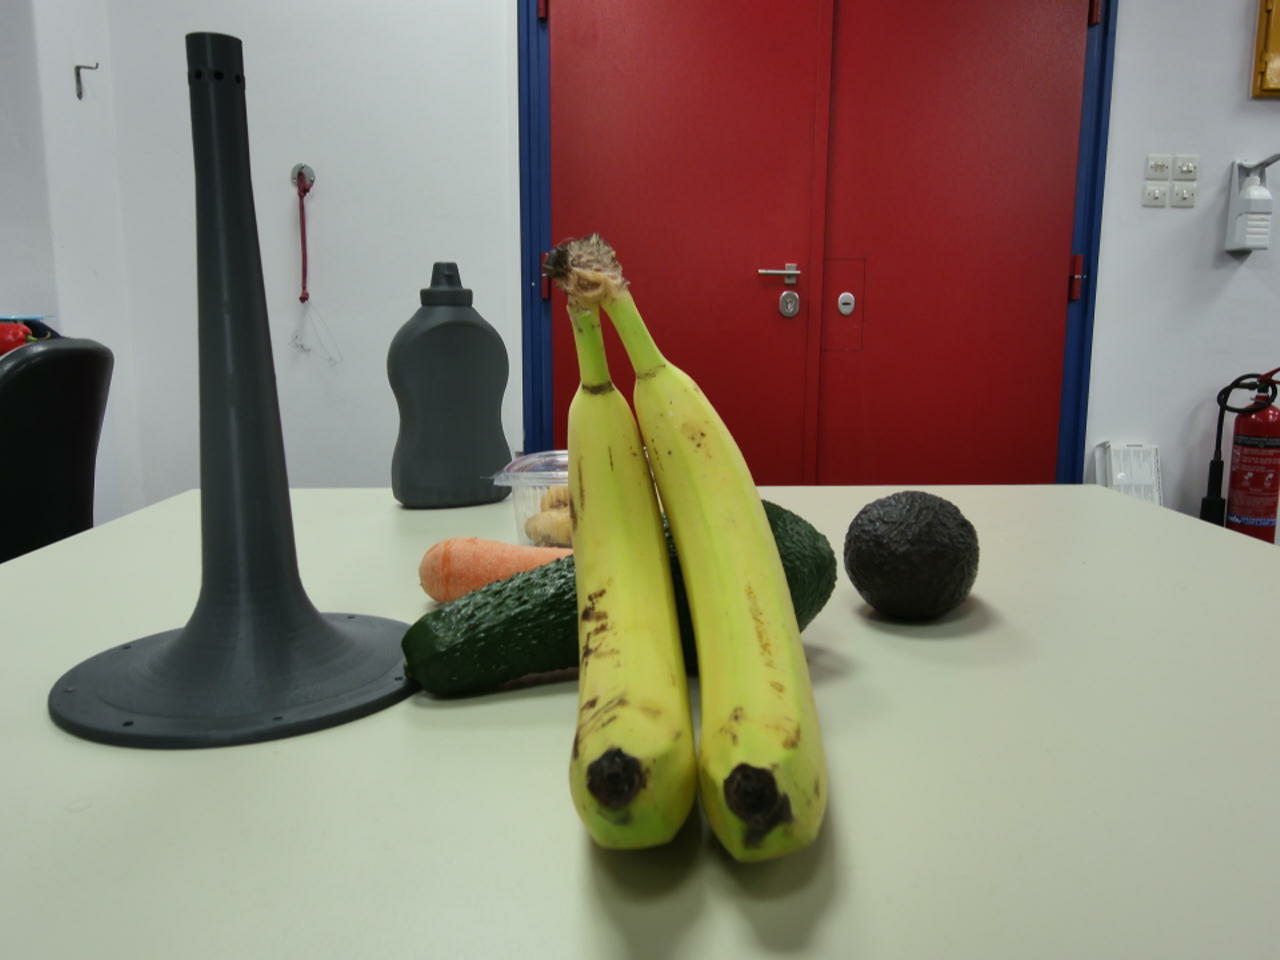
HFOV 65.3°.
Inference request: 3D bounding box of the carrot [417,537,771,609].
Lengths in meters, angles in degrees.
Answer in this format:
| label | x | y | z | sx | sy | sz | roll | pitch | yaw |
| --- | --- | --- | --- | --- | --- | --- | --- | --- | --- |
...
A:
| label | x | y | z | sx | sy | sz | roll | pitch | yaw |
| --- | --- | --- | --- | --- | --- | --- | --- | --- | --- |
| carrot | -0.025 | 0.052 | 0.558 | 0.196 | 0.041 | 0.039 | -1 | 7 | -1 |
